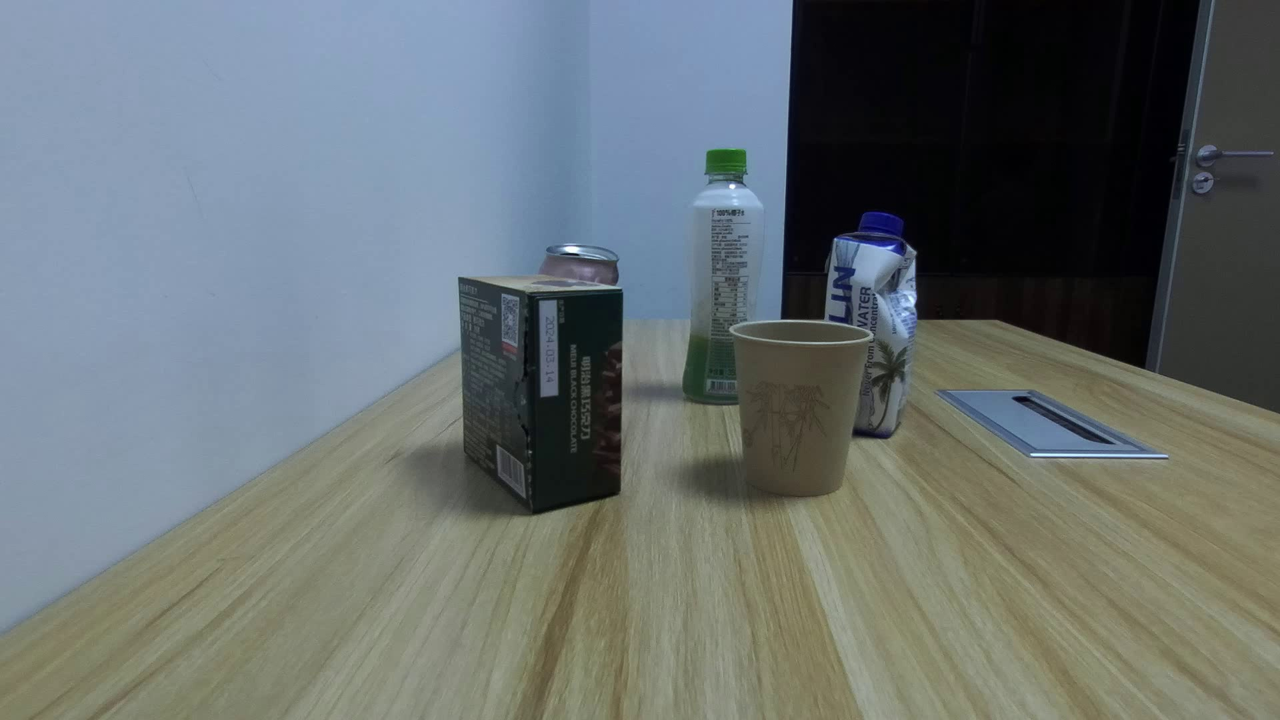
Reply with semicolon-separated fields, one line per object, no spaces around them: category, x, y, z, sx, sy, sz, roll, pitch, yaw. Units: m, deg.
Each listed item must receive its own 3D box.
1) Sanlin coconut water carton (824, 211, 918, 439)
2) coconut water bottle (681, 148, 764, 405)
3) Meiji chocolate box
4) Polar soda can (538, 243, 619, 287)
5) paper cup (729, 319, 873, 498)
Sanlin coconut water carton;0.153;-0.025;0.474;0.060;0.143;0.070;9;12;26
coconut water bottle;0.066;-0.064;0.548;0.063;0.188;0.063;0;10;0
Meiji chocolate box;-0.057;0.012;0.391;0.056;0.109;0.109;-6;12;-30
Polar soda can;-0.056;-0.032;0.553;0.067;0.121;0.070;2;24;-25
paper cup;0.083;0.024;0.379;0.075;0.082;0.075;0;12;0
